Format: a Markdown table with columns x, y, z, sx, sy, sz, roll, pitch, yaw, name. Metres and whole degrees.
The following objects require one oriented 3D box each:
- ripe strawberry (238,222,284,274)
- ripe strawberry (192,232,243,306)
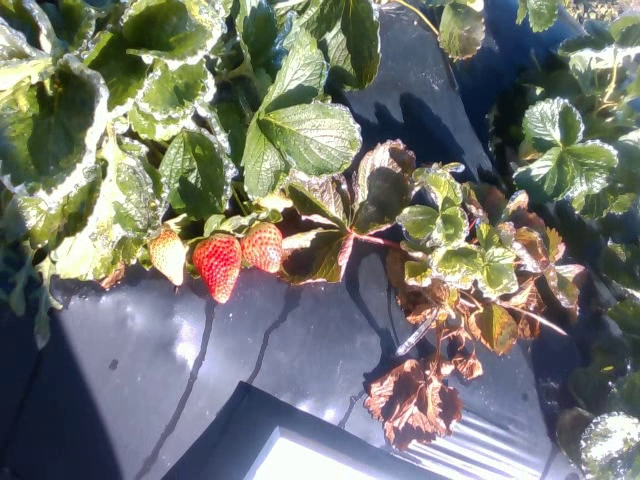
| x | y | z | sx | sy | sz | roll | pitch | yaw | name |
| --- | --- | --- | --- | --- | --- | --- | --- | --- | --- |
| -0.039 | 0.007 | 0.438 | 0.036 | 0.041 | 0.030 | -33 | 12 | 0 | ripe strawberry |
| -0.070 | 0.024 | 0.419 | 0.036 | 0.051 | 0.040 | -9 | -21 | -8 | ripe strawberry |
